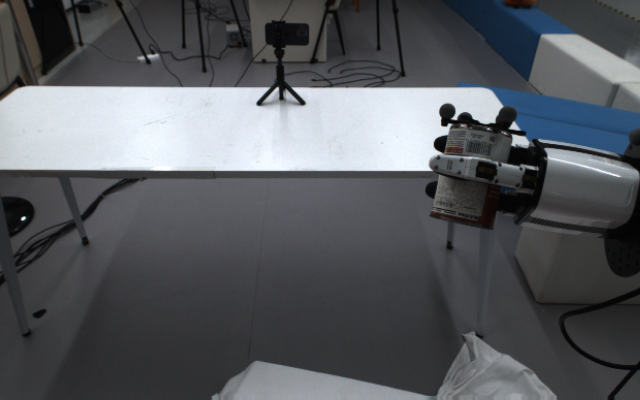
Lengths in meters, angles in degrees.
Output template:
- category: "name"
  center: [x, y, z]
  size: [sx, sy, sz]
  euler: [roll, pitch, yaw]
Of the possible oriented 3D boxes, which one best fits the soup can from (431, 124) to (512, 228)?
- category: "soup can"
  center: [0.165, -0.027, 0.524]
  size: [0.067, 0.101, 0.067]
  euler: [12, 3, -1]
